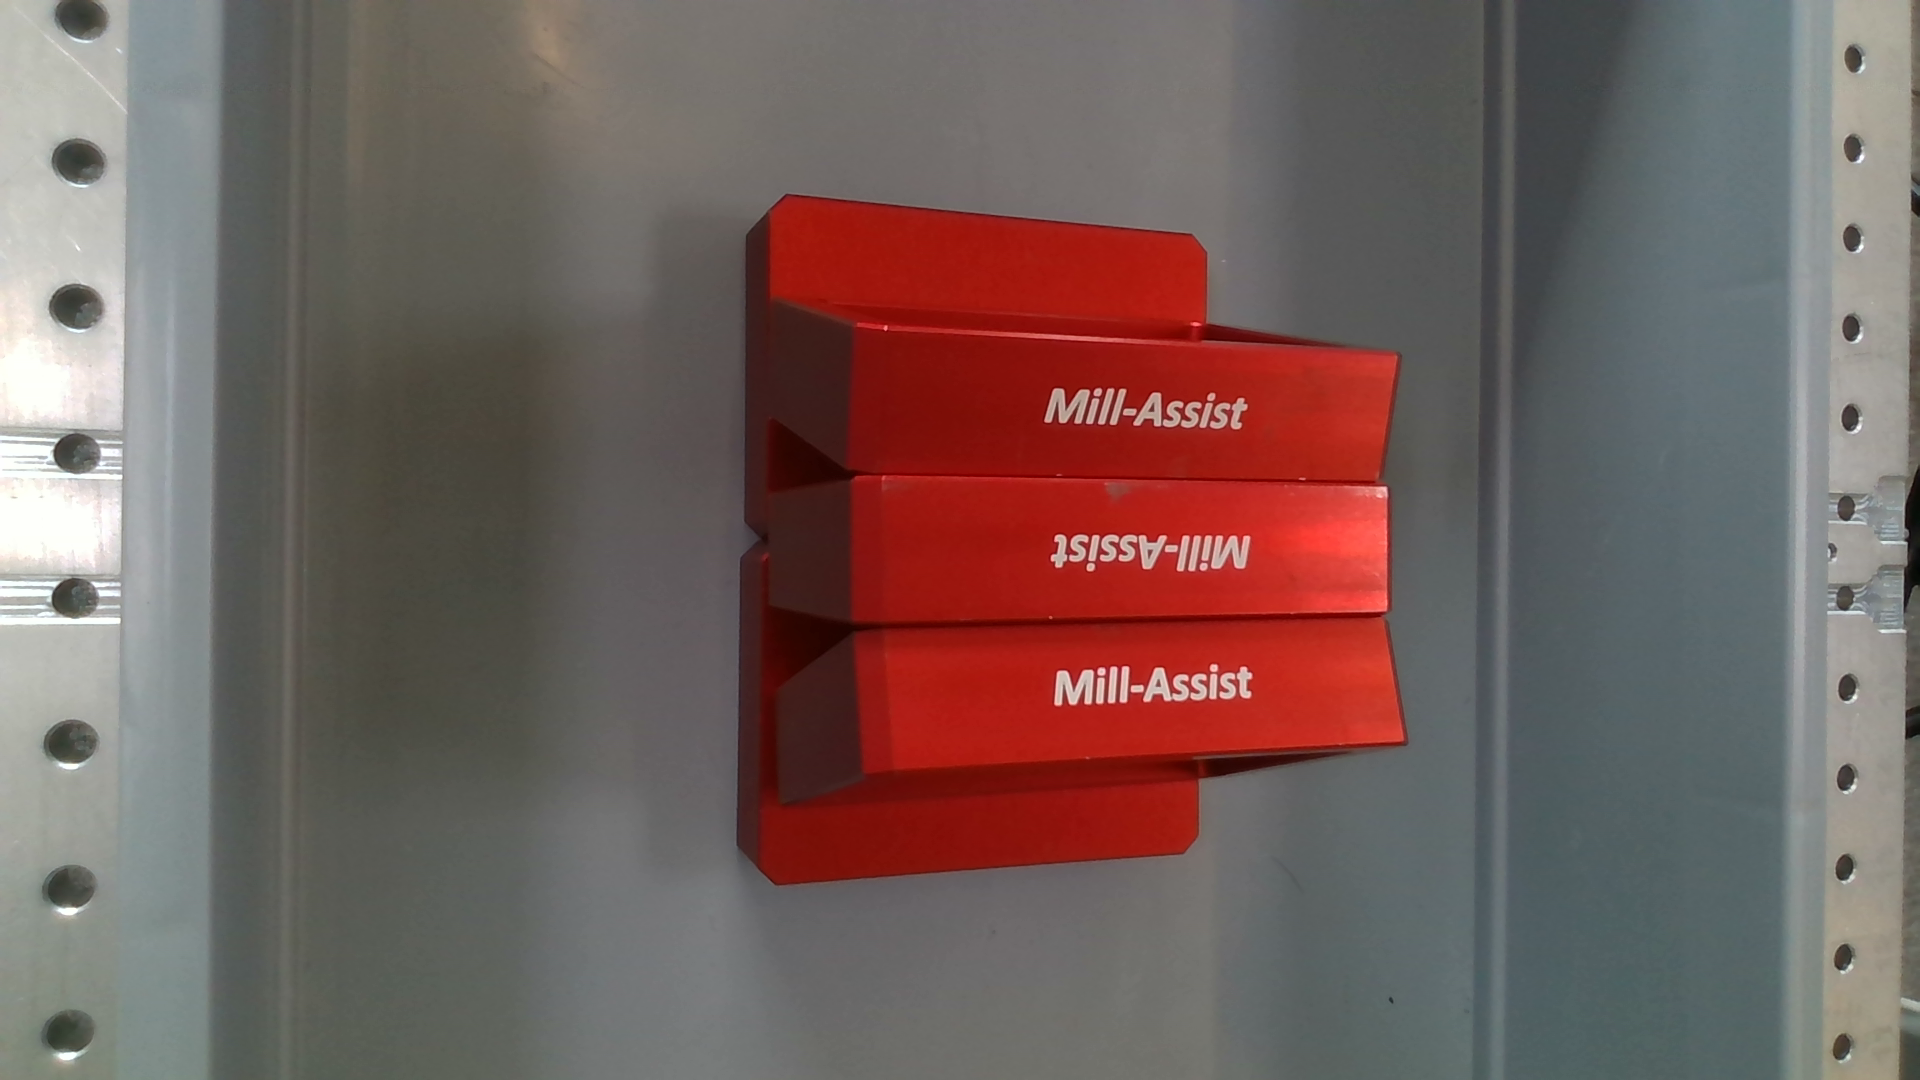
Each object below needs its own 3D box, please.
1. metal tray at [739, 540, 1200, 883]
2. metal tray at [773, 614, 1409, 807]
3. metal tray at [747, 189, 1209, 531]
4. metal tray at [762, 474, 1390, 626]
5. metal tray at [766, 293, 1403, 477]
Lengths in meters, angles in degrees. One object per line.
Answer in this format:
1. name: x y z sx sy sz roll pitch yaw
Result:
1. metal tray: 0.004 0.045 0.392 0.130 0.030 0.090 0 90 -20
2. metal tray: 0.028 0.042 0.334 0.130 0.090 0.030 0 76 -20
3. metal tray: 0.006 -0.046 0.391 0.130 0.030 0.090 0 90 -20
4. metal tray: 0.025 0.002 0.334 0.130 0.090 0.030 0 90 -22
5. metal tray: 0.026 -0.039 0.333 0.130 0.090 0.030 0 102 -20
